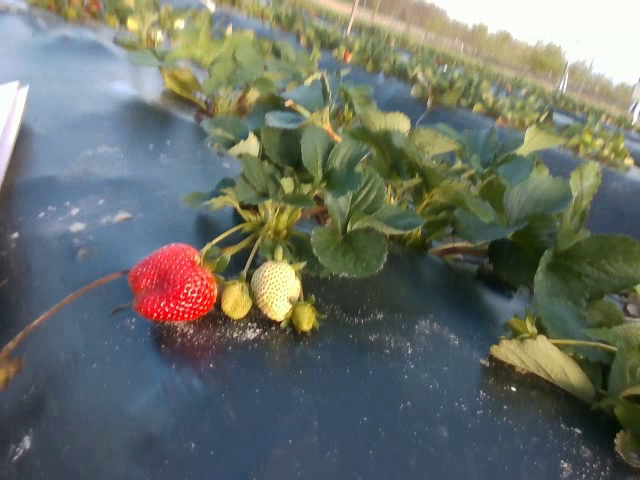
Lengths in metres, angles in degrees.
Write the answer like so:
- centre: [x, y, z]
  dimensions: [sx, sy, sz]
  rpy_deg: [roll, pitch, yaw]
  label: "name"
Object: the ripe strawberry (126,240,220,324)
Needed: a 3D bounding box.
- centre: [-0.090, 0.021, 0.361]
  dimensions: [0.050, 0.035, 0.047]
  rpy_deg: [-24, 40, -25]
  label: "ripe strawberry"
